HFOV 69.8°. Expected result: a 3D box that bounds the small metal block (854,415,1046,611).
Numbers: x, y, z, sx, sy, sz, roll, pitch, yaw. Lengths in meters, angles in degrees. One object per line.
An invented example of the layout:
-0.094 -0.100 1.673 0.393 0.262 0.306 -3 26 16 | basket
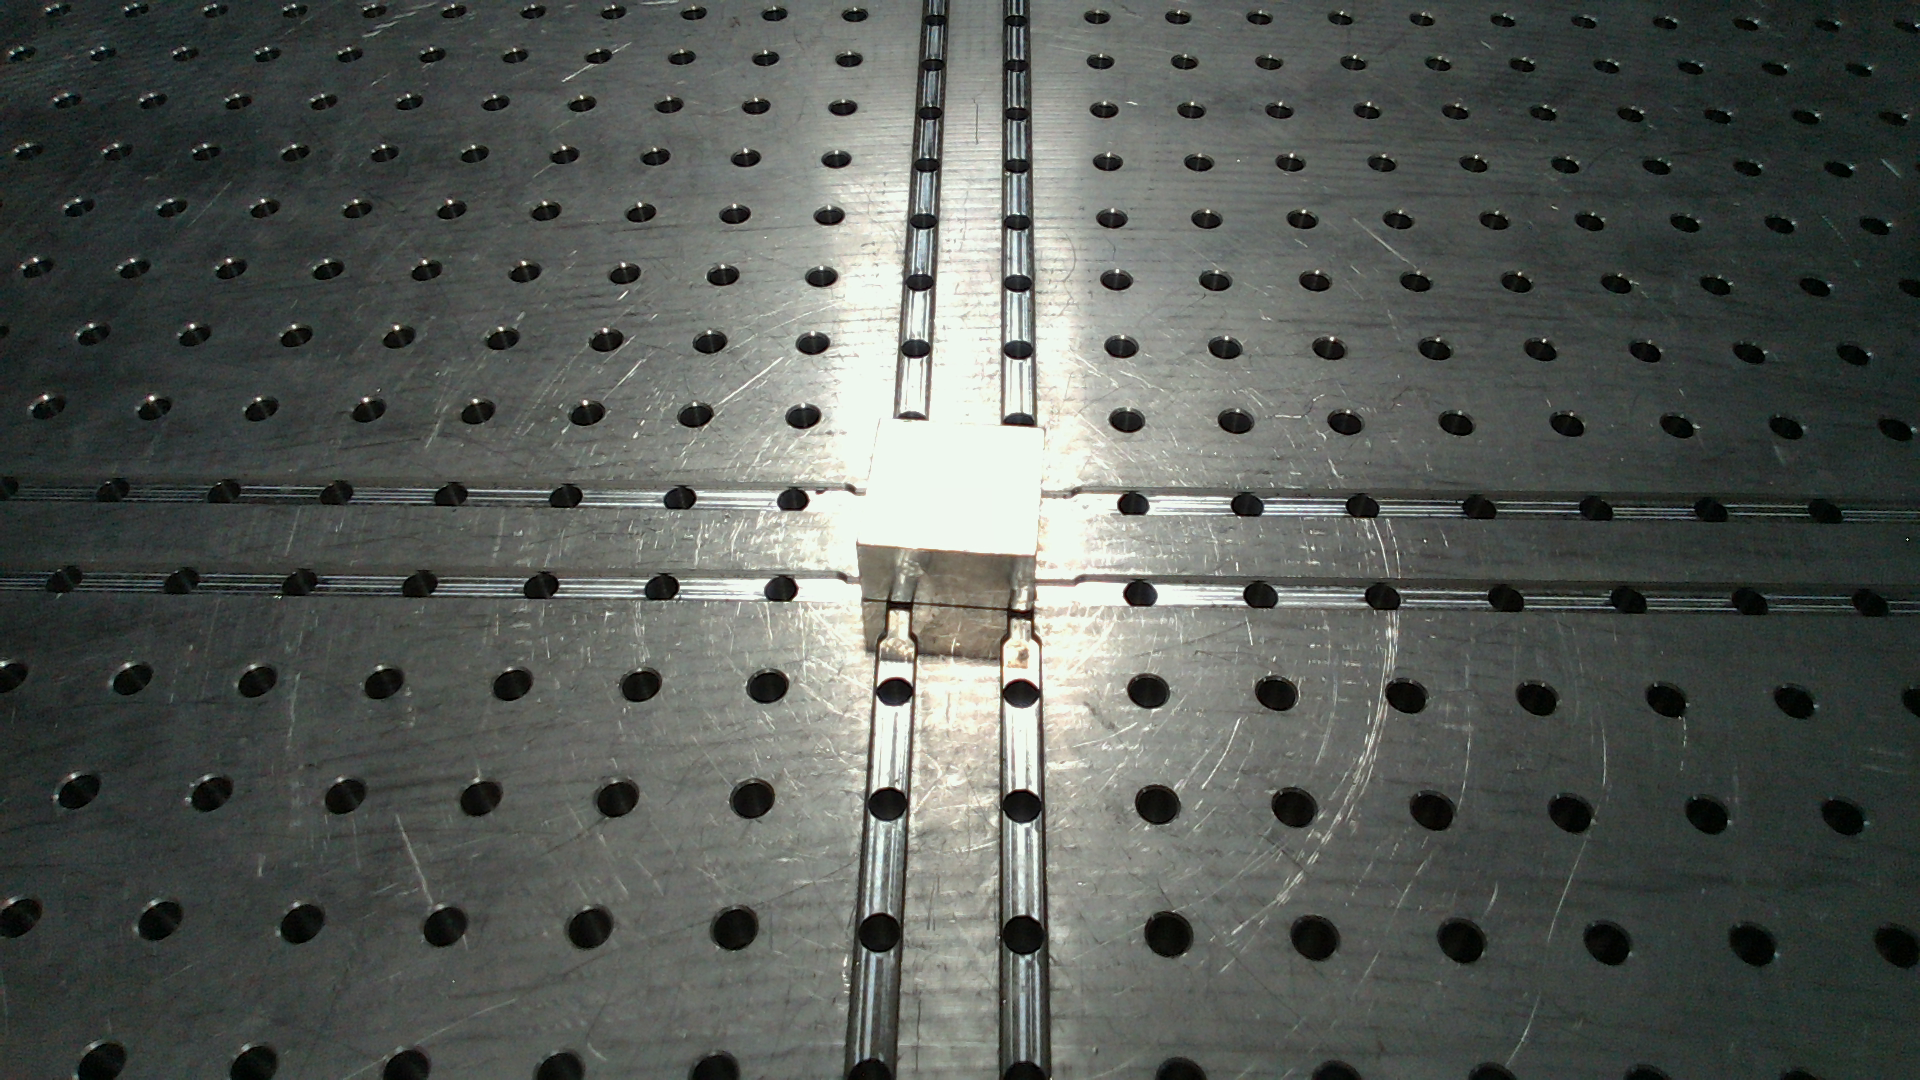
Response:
-0.002 -0.008 0.401 0.050 0.025 0.050 4 50 3 | small metal block
